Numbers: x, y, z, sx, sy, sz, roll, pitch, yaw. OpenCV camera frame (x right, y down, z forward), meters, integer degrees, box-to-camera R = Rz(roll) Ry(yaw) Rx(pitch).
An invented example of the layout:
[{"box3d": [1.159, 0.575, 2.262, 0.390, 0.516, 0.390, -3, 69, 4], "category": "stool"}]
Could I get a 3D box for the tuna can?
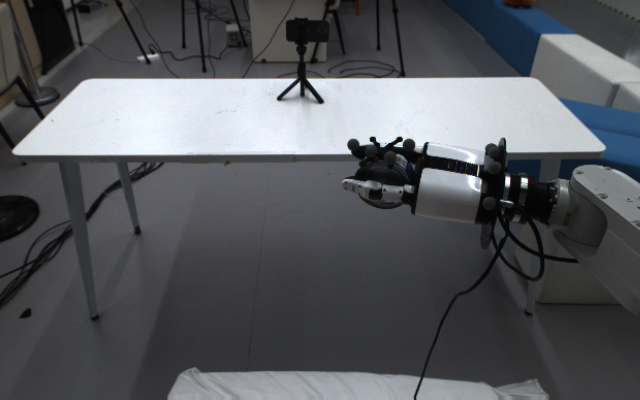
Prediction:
[{"box3d": [0.096, -0.031, 0.715, 0.085, 0.085, 0.034, 11, 39, 13], "category": "tuna can"}]
